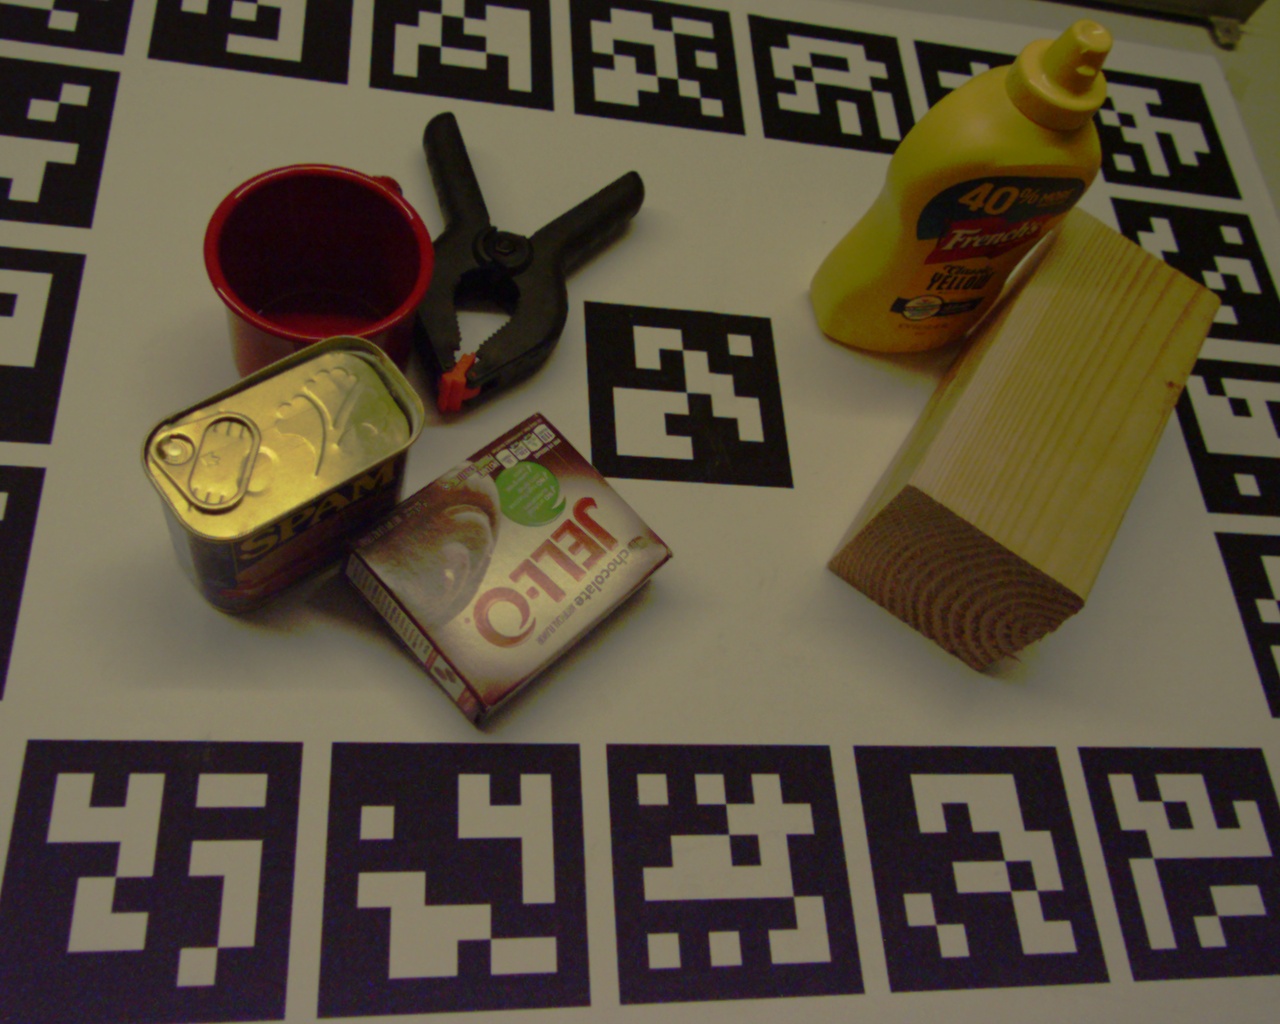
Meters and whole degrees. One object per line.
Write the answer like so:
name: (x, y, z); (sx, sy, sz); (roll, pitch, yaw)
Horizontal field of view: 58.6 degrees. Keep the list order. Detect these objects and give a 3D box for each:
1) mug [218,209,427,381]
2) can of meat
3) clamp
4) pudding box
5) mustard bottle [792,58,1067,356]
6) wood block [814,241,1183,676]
mug: (-0.149, -0.094, 0.560); (0.093, 0.082, 0.117); (23, 63, -4)
can of meat: (-0.147, -0.009, 0.487); (0.101, 0.084, 0.058); (-28, 76, -25)
clamp: (-0.073, -0.125, 0.599); (0.121, 0.037, 0.165); (20, 63, -6)
pudding box: (-0.057, 0.027, 0.524); (0.113, 0.039, 0.090); (-38, 79, -28)
mustard bottle: (0.154, -0.151, 0.575); (0.095, 0.192, 0.058); (-2, 67, -15)
wood block: (0.186, -0.032, 0.589); (0.090, 0.091, 0.205); (35, 59, 5)
